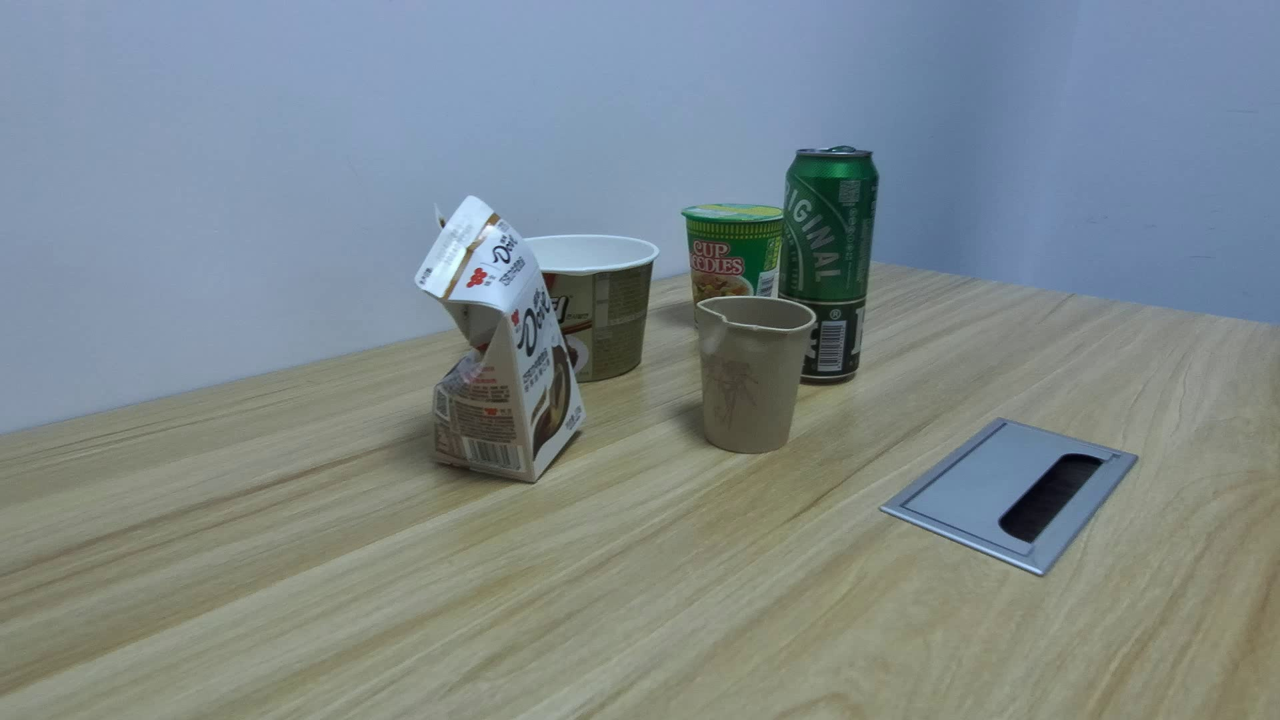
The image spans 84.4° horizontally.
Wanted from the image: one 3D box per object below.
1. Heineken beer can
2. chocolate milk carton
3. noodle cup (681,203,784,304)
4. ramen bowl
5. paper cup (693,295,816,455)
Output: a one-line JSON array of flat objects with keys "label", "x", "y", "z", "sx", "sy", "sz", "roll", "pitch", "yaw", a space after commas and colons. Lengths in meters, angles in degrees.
[{"label": "Heineken beer can", "x": 0.140, "y": -0.069, "z": 0.533, "sx": 0.067, "sy": 0.169, "sz": 0.067, "roll": 0, "pitch": 18, "yaw": 0}, {"label": "chocolate milk carton", "x": -0.087, "y": -0.010, "z": 0.411, "sx": 0.076, "sy": 0.156, "sz": 0.089, "roll": 3, "pitch": 33, "yaw": 19}, {"label": "noodle cup", "x": 0.087, "y": -0.083, "z": 0.656, "sx": 0.097, "sy": 0.110, "sz": 0.097, "roll": 0, "pitch": 18, "yaw": 0}, {"label": "ramen bowl", "x": -0.056, "y": -0.043, "z": 0.576, "sx": 0.140, "sy": 0.095, "sz": 0.140, "roll": 1, "pitch": 19, "yaw": 0}, {"label": "paper cup", "x": 0.068, "y": 0.008, "z": 0.439, "sx": 0.073, "sy": 0.081, "sz": 0.069, "roll": 5, "pitch": 20, "yaw": 11}]
